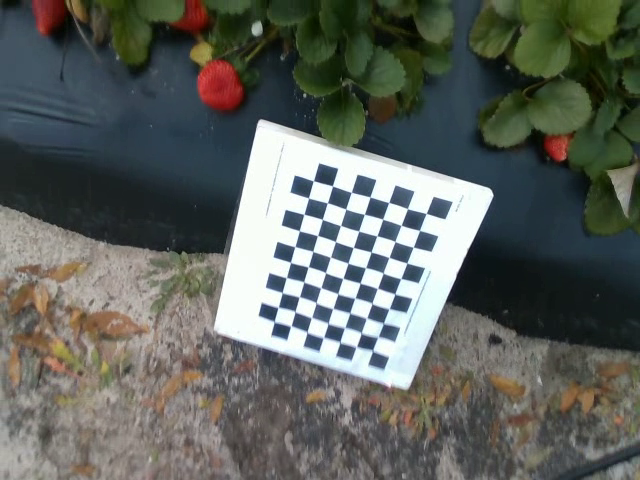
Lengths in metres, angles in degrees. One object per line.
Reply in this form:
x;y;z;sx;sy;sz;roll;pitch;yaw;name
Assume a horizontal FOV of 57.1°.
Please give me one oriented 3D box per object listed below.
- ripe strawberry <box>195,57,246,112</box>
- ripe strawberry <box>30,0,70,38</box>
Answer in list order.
-0.118;-0.171;0.667;0.057;0.056;0.065;-13;25;32;ripe strawberry
-0.302;-0.246;0.668;0.043;0.052;0.041;1;-21;11;ripe strawberry
